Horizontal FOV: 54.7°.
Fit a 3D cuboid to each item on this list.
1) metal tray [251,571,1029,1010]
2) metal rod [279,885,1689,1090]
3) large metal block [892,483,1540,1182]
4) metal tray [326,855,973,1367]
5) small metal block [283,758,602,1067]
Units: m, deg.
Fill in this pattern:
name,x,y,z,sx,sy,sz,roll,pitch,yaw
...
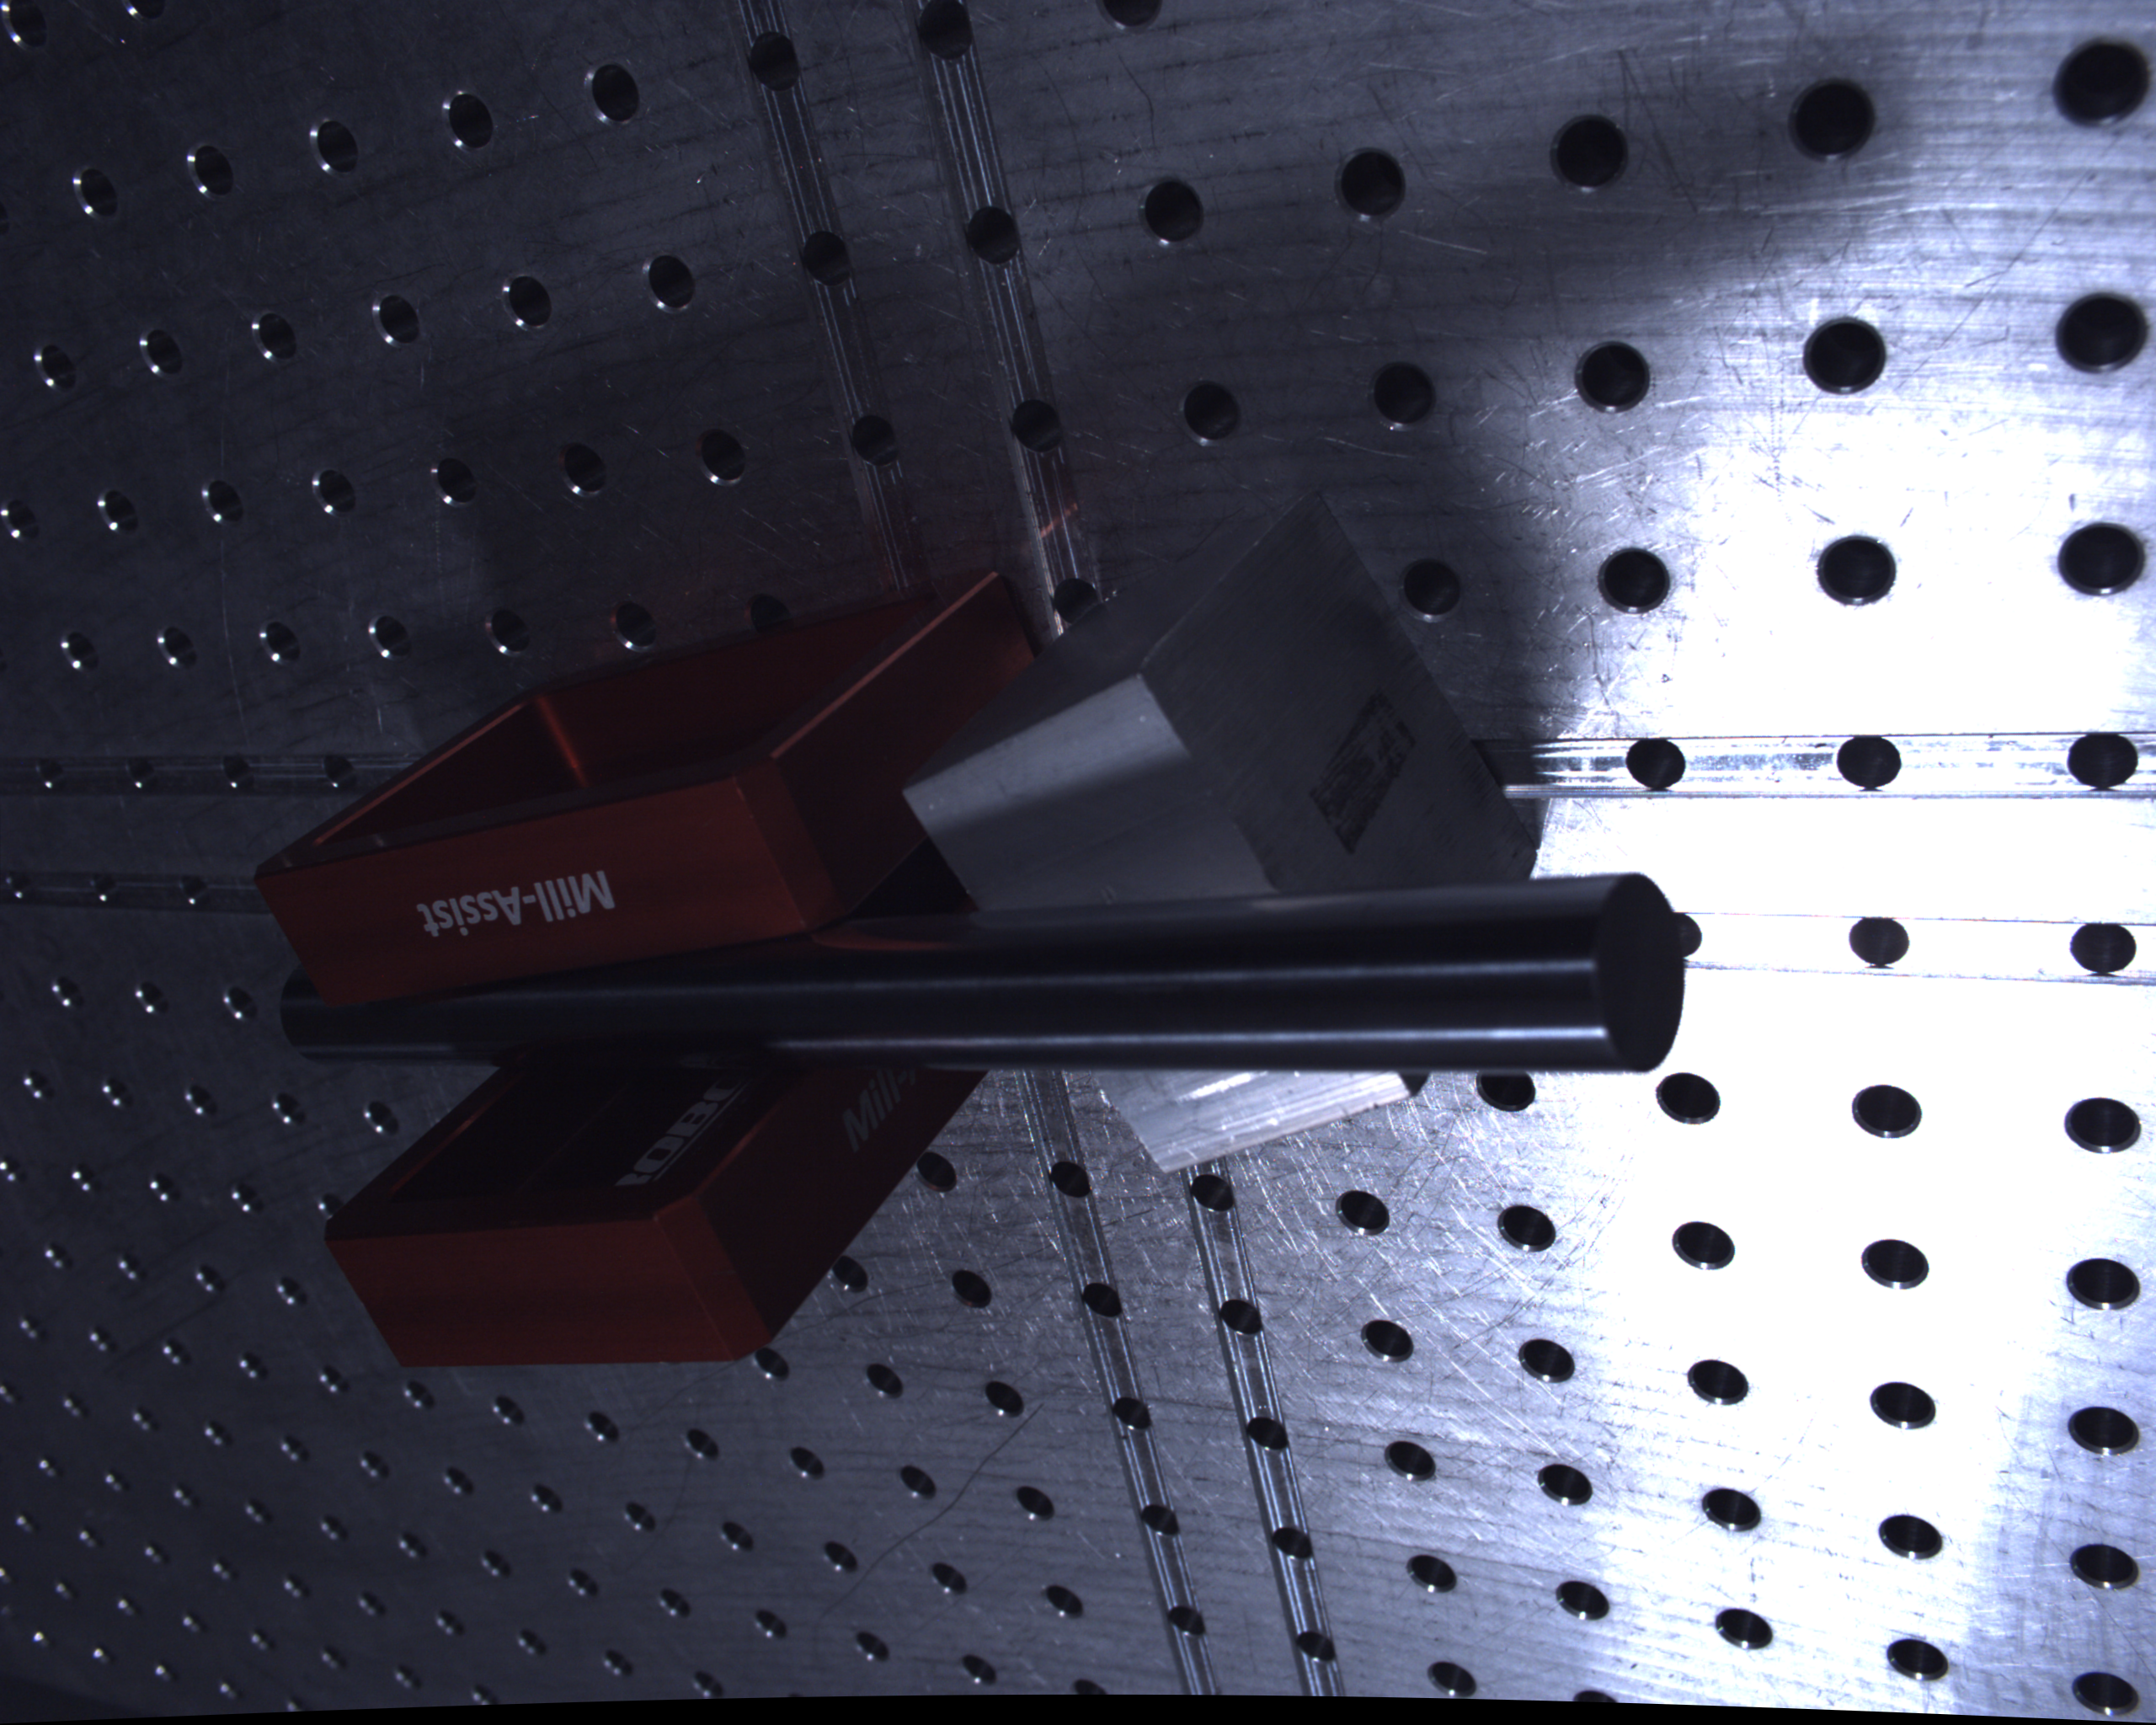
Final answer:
name,x,y,z,sx,sy,sz,roll,pitch,yaw
metal tray,-0.081,-0.014,0.401,0.130,0.090,0.030,-9,115,31
metal rod,-0.045,0.024,0.351,0.300,0.025,0.025,-4,117,40
large metal block,0.027,-0.006,0.355,0.050,0.080,0.080,-25,105,36
metal tray,-0.068,0.042,0.403,0.090,0.131,0.030,-10,114,32
small metal block,-0.143,0.011,0.475,0.025,0.050,0.050,-8,114,31
